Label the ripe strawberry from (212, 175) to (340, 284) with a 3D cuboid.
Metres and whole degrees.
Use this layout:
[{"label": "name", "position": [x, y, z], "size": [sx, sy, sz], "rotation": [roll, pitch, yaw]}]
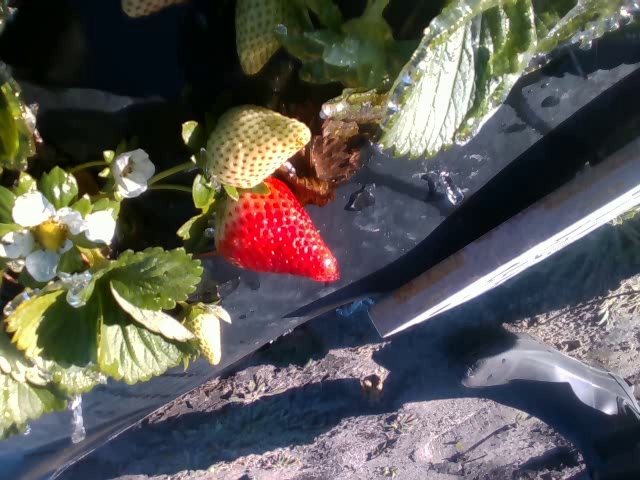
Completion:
[{"label": "ripe strawberry", "position": [-0.014, 0.000, 0.228], "size": [0.053, 0.042, 0.040], "rotation": [34, -34, 2]}]
